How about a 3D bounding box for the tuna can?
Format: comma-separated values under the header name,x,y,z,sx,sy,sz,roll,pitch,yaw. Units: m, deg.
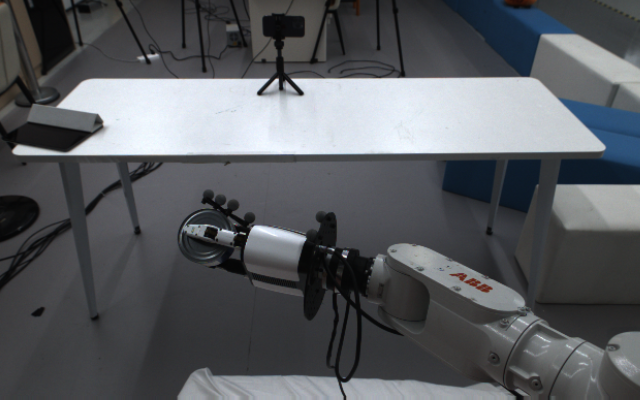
name,x,y,z,sx,sy,sz,roll,pitch,yaw
tuna can,-0.172,0.060,0.744,0.085,0.034,0.085,-2,70,6
